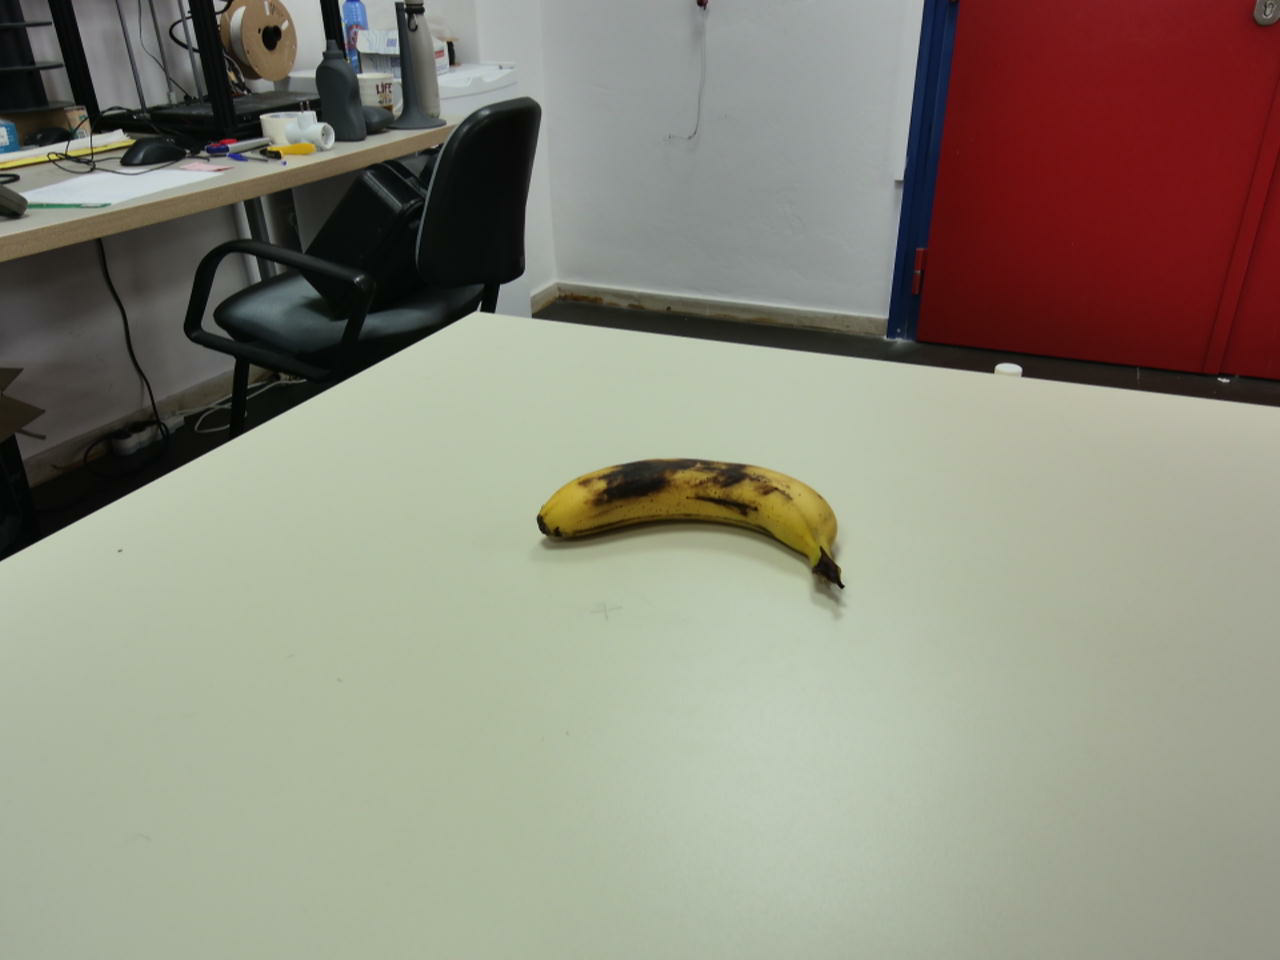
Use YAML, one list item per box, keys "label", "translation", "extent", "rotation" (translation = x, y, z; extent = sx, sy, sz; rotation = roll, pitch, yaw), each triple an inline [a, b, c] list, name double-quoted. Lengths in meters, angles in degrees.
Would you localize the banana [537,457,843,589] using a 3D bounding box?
- label: "banana"
  translation: [0.038, 0.018, 0.603]
  extent: [0.187, 0.039, 0.094]
  rotation: [10, 27, 20]
